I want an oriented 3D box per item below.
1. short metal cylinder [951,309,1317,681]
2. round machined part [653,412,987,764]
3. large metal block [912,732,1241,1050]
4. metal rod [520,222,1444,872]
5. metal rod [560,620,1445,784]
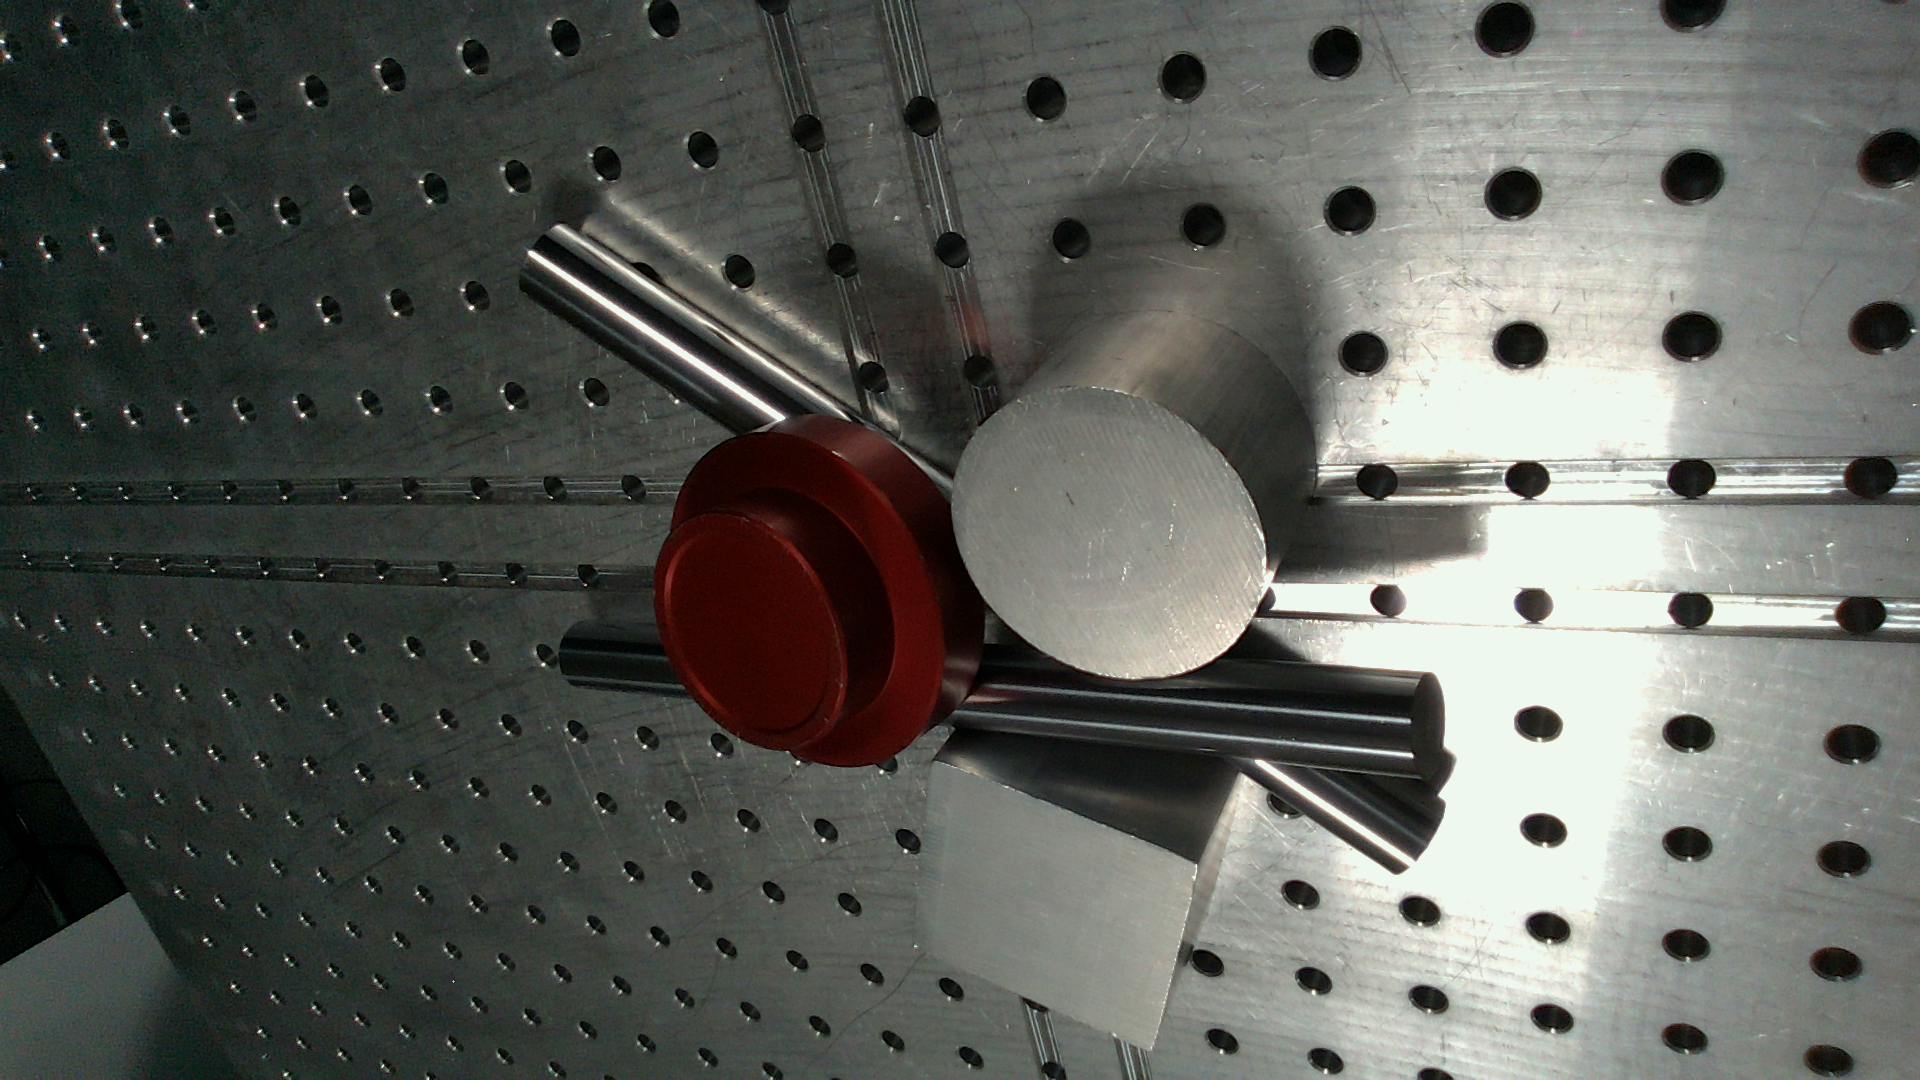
[{"bbox_3d":[0.044,-0.012,0.348,0.080,0.050,0.080,13,124,21],"label":"short metal cylinder"},{"bbox_3d":[-0.045,0.018,0.376,0.098,0.042,0.098,14,117,29],"label":"round machined part"},{"bbox_3d":[0.035,0.094,0.416,0.080,0.050,0.080,18,126,18],"label":"large metal block"},{"bbox_3d":[0.002,-0.001,0.395,0.300,0.025,0.025,34,129,6],"label":"metal rod"},{"bbox_3d":[-0.013,0.042,0.405,0.299,0.025,0.025,1,119,36],"label":"metal rod"}]
